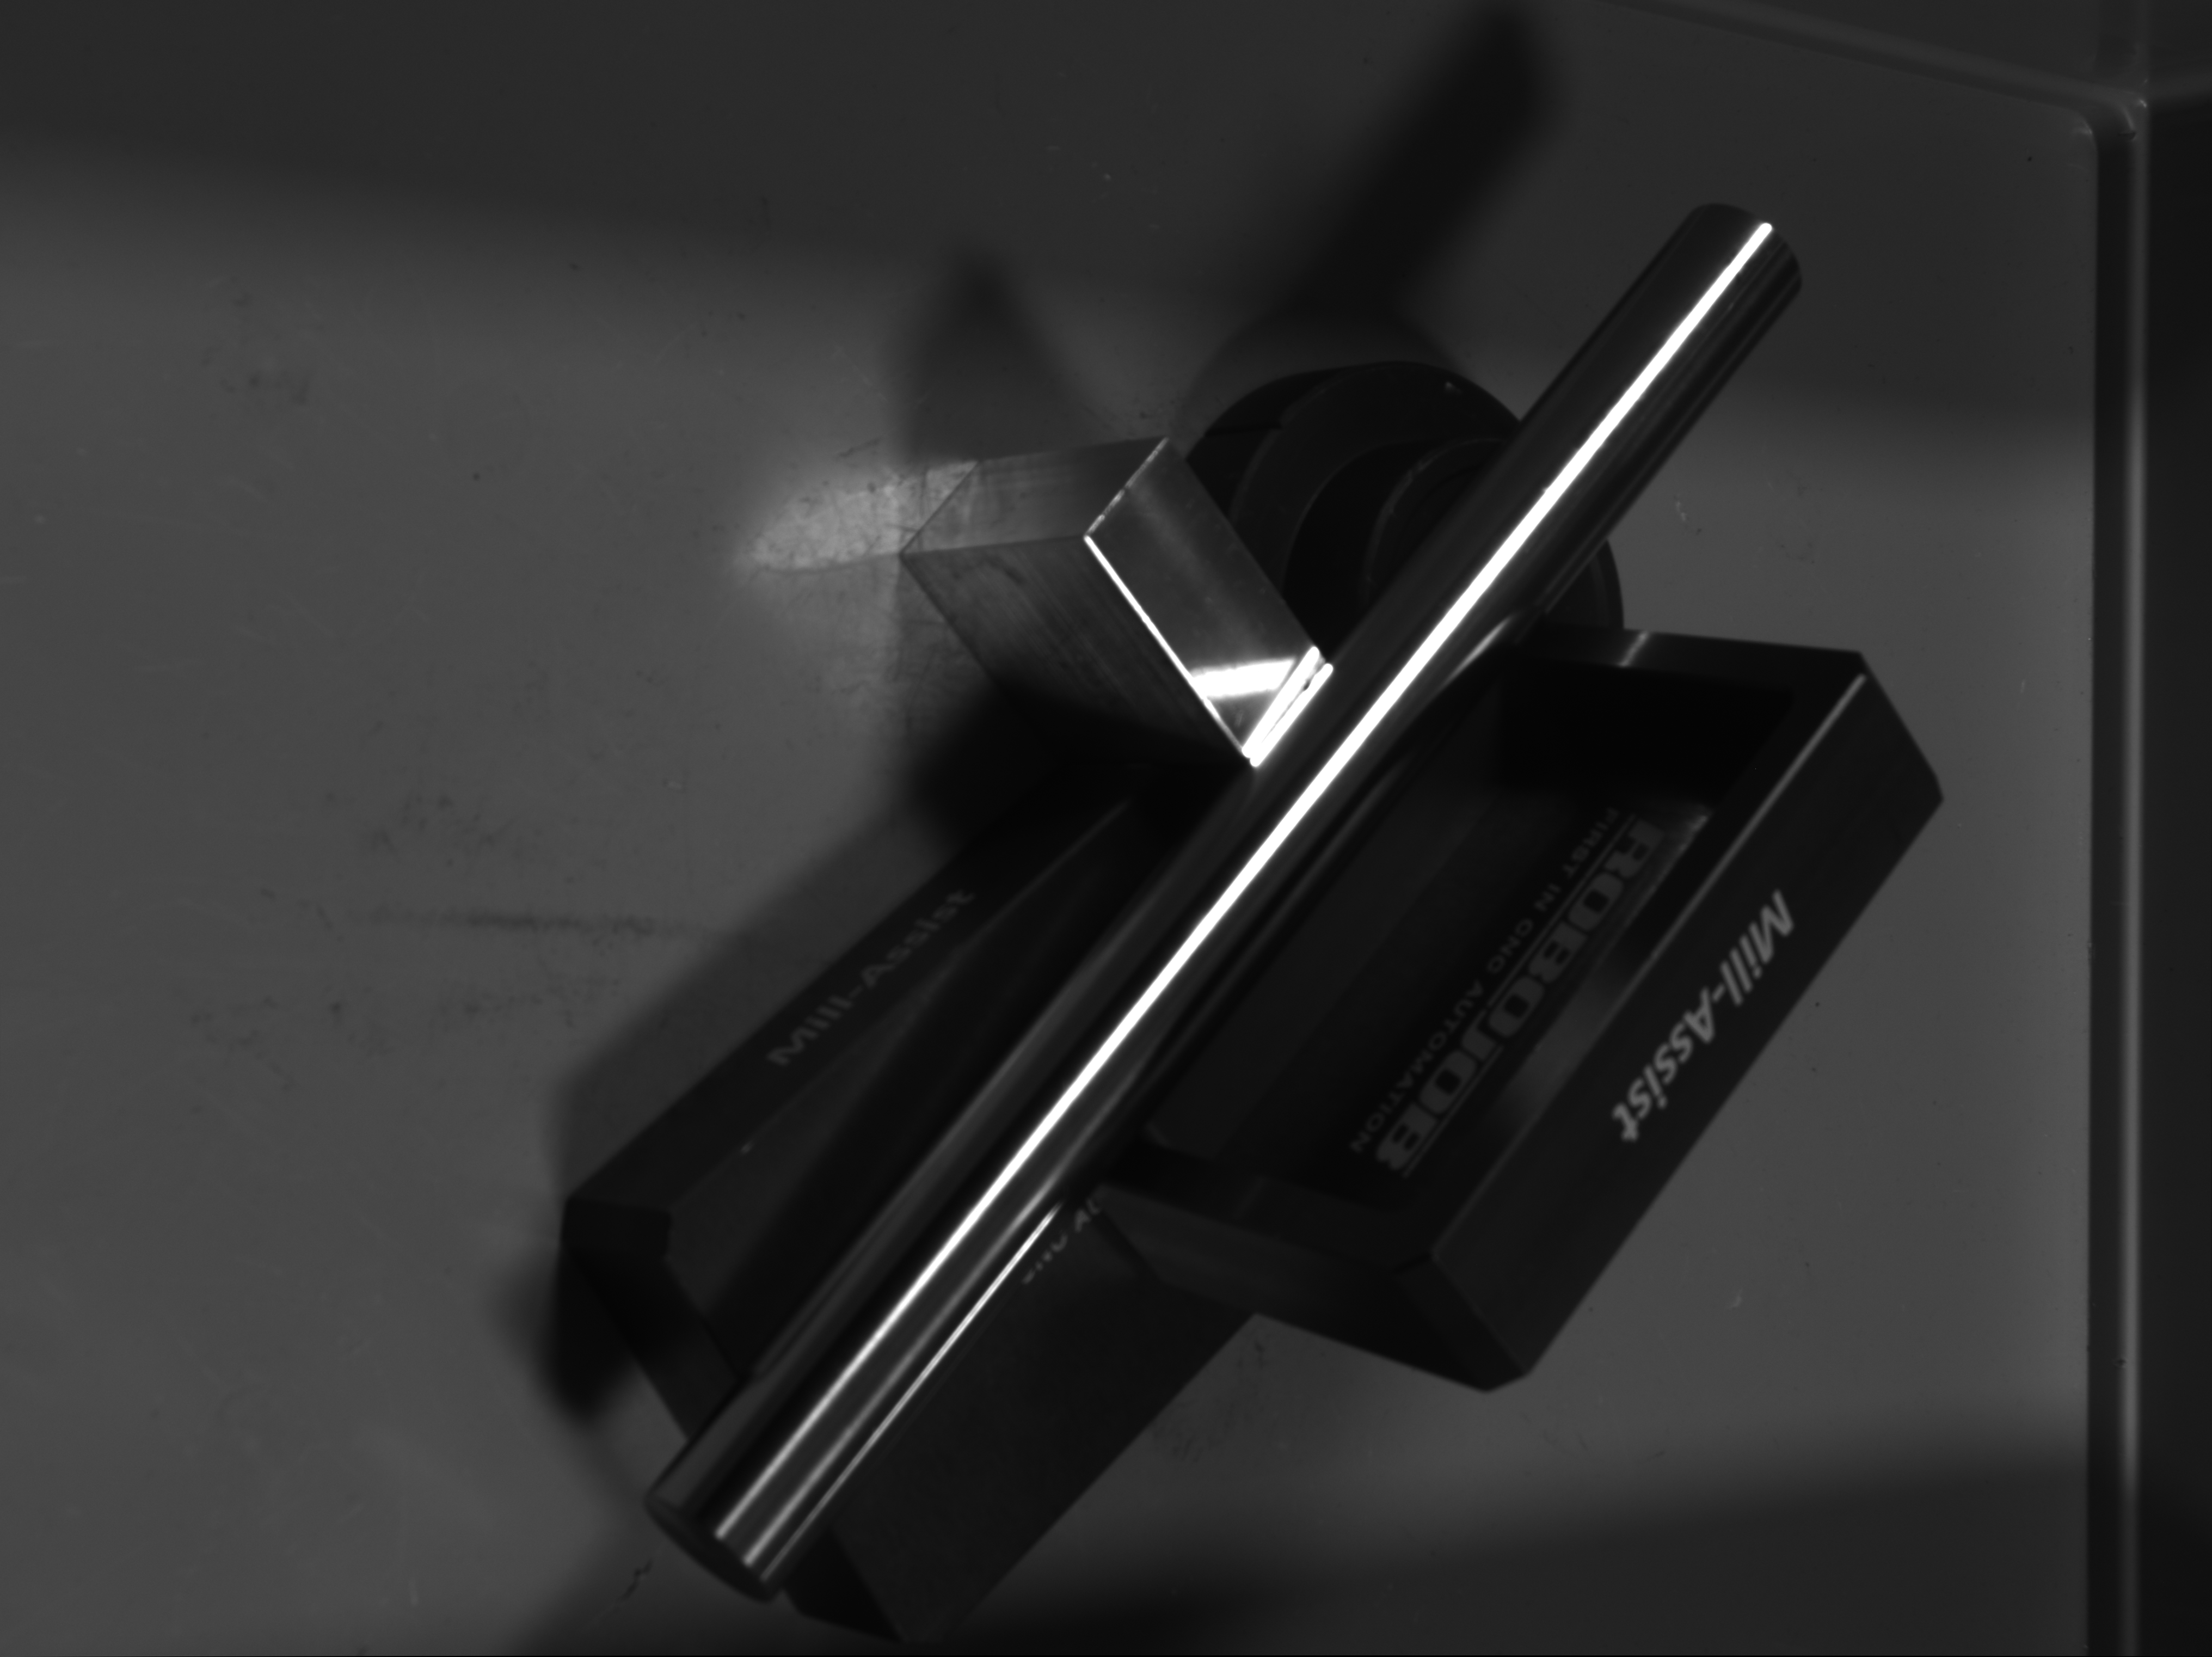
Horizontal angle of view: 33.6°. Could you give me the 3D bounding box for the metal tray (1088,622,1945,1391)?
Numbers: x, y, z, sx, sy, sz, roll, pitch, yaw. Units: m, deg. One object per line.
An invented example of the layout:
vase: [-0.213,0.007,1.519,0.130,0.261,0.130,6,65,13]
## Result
metal tray: [0.065,0.024,0.599,0.130,0.090,0.030,-50,122,-21]

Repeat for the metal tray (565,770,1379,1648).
metal tray: [-0.018,0.061,0.618,0.130,0.030,0.090,-42,115,-32]

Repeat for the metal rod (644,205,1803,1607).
metal rod: [0.028,0.002,0.609,0.300,0.025,0.025,-50,120,-23]

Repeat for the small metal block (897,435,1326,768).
small metal block: [0.001,-0.037,0.621,0.025,0.050,0.050,-52,120,-27]

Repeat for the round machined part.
round machined part: [0.057,-0.037,0.672,0.098,0.042,0.098,0,90,-40]
